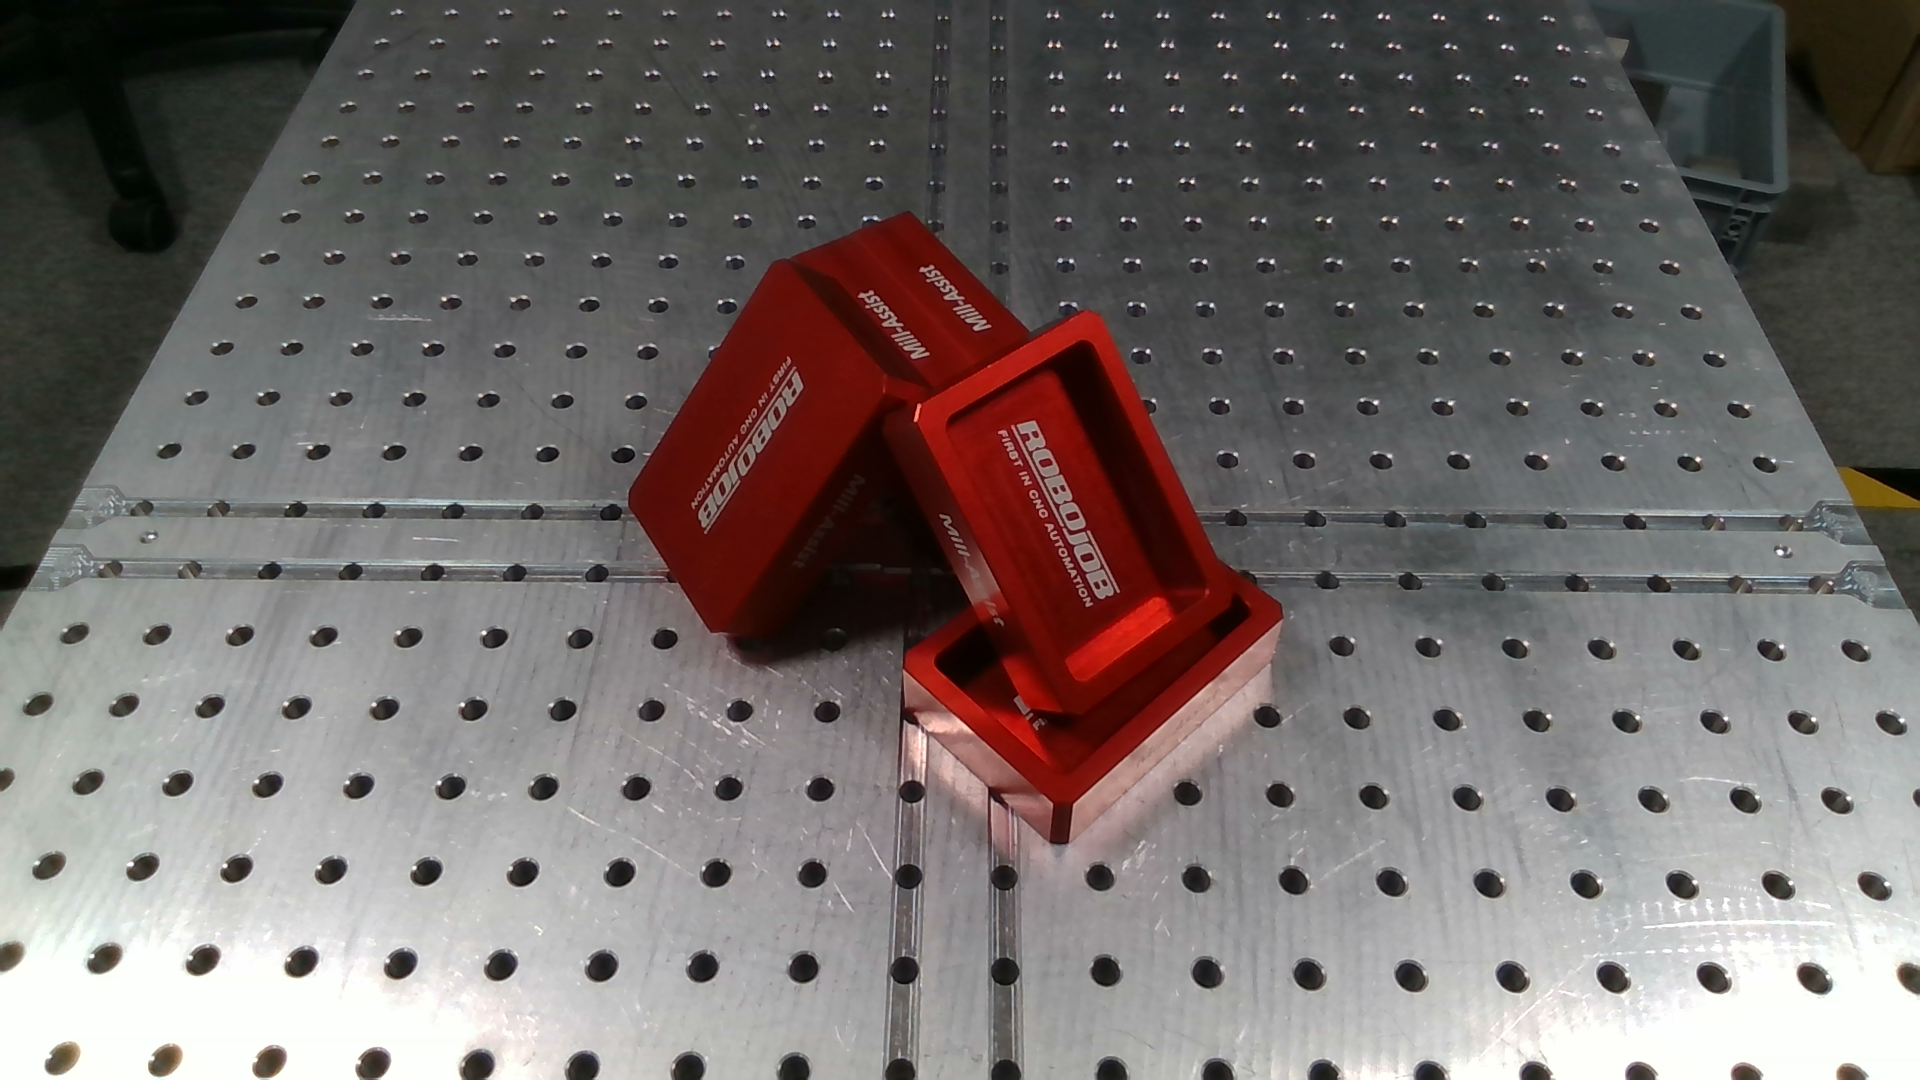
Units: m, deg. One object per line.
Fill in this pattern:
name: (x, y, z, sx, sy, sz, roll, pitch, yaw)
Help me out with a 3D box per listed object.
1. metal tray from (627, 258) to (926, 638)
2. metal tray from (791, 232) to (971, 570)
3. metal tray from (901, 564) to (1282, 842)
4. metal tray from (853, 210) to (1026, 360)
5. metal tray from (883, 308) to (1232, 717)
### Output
metal tray: (-0.077, -0.036, 0.559, 0.030, 0.130, 0.090, 10, 33, -50)
metal tray: (-0.028, -0.060, 0.596, 0.030, 0.090, 0.130, -26, 55, -20)
metal tray: (0.052, 0.046, 0.546, 0.130, 0.030, 0.090, -36, 59, -26)
metal tray: (-0.002, -0.073, 0.608, 0.030, 0.090, 0.130, -26, 55, -20)
metal tray: (0.039, -0.010, 0.525, 0.090, 0.030, 0.130, -32, 102, -24)
